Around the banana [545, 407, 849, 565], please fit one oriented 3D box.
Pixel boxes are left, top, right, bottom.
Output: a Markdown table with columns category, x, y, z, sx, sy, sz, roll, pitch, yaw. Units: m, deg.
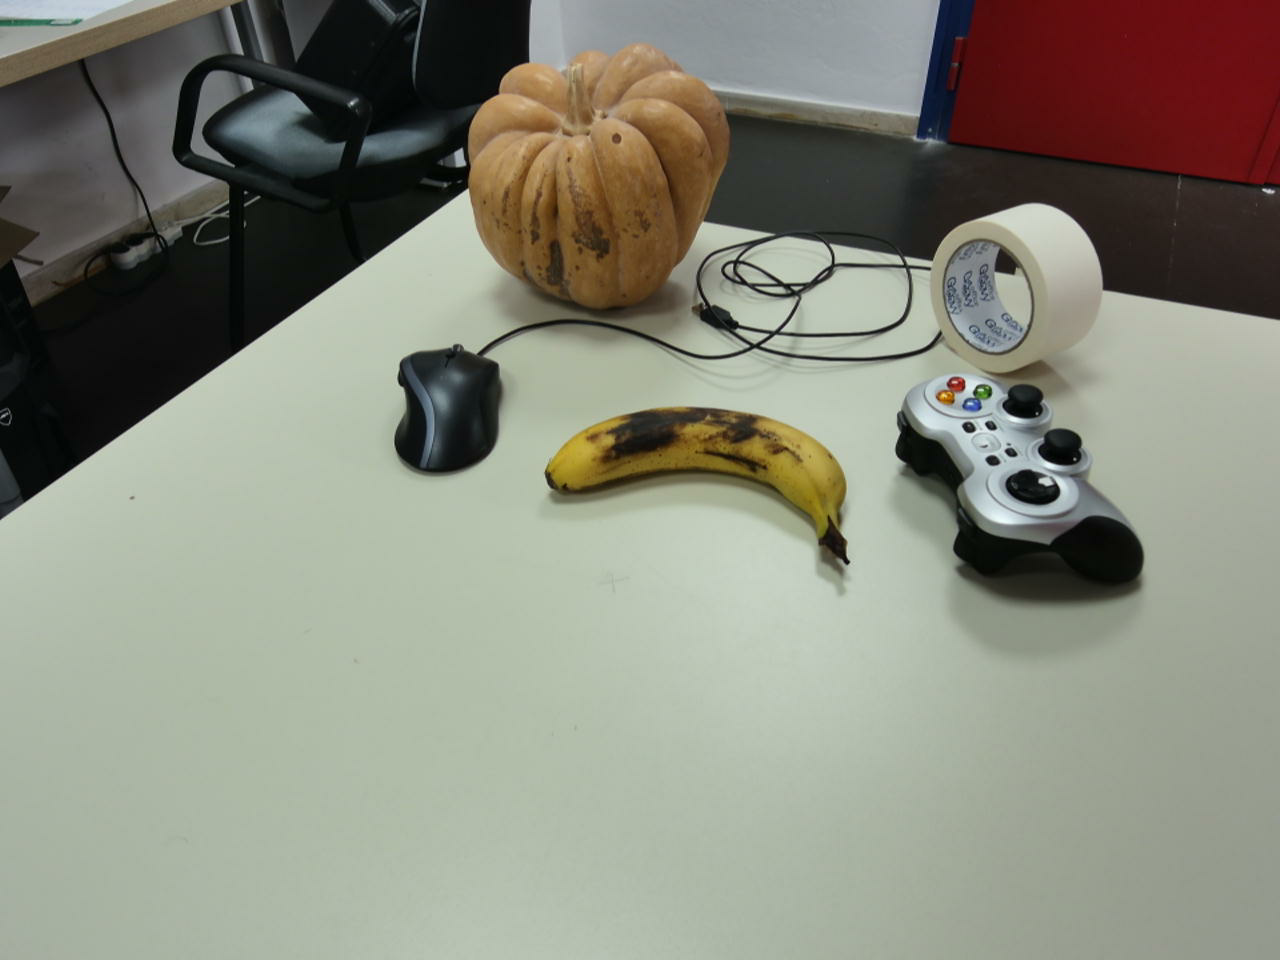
| category | x | y | z | sx | sy | sz | roll | pitch | yaw |
| --- | --- | --- | --- | --- | --- | --- | --- | --- | --- |
| banana | 0.042 | -0.009 | 0.599 | 0.187 | 0.039 | 0.094 | 15 | 41 | 18 |
